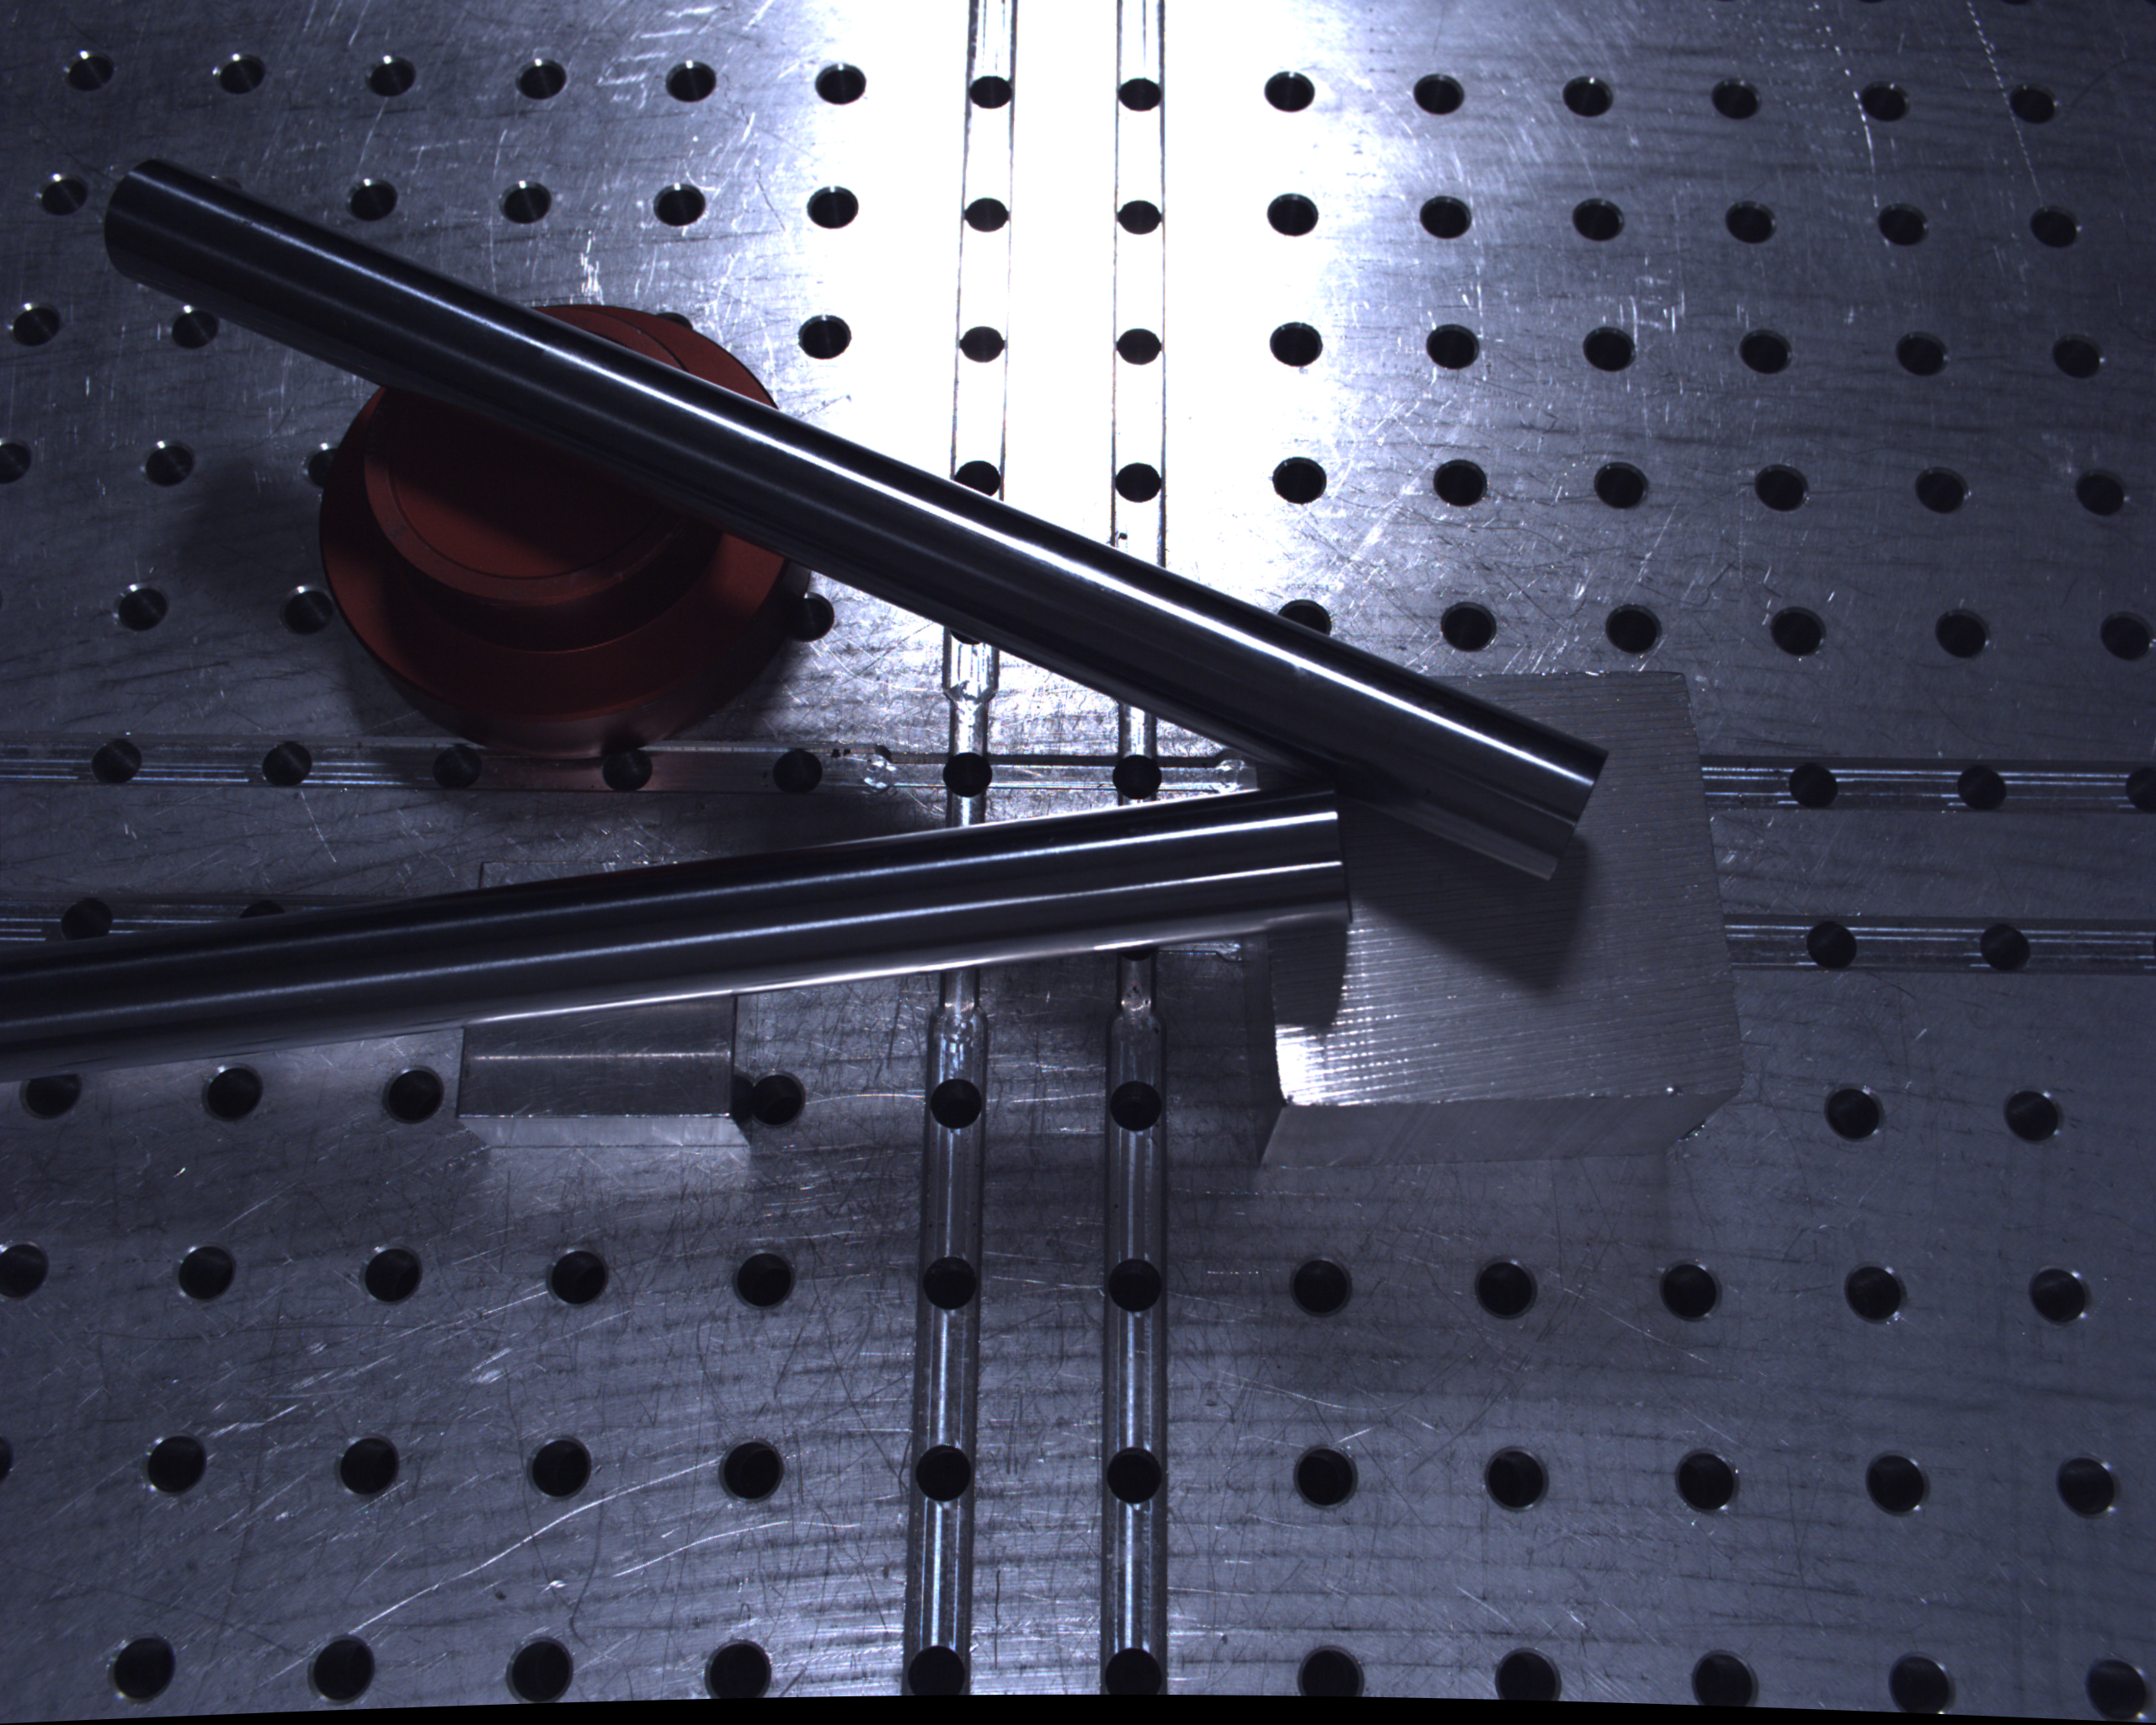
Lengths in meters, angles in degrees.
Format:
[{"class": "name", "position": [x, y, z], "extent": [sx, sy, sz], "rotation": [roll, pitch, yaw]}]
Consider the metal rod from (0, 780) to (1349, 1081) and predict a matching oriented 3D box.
[{"class": "metal rod", "position": [-0.104, 0.016, 0.375], "extent": [0.301, 0.025, 0.025], "rotation": [-7, 70, 8]}]

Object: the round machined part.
[{"class": "round machined part", "position": [-0.106, -0.074, 0.428], "extent": [0.099, 0.042, 0.098], "rotation": [0, 70, -1]}]

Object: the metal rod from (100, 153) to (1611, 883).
[{"class": "metal rod", "position": [-0.049, -0.068, 0.385], "extent": [0.301, 0.025, 0.025], "rotation": [24, 72, 11]}]

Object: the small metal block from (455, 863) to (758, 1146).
[{"class": "small metal block", "position": [-0.089, 0.028, 0.401], "extent": [0.050, 0.025, 0.050], "rotation": [0, 70, -1]}]

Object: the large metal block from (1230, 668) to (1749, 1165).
[{"class": "large metal block", "position": [0.073, 0.011, 0.392], "extent": [0.081, 0.050, 0.080], "rotation": [-2, 70, -1]}]
